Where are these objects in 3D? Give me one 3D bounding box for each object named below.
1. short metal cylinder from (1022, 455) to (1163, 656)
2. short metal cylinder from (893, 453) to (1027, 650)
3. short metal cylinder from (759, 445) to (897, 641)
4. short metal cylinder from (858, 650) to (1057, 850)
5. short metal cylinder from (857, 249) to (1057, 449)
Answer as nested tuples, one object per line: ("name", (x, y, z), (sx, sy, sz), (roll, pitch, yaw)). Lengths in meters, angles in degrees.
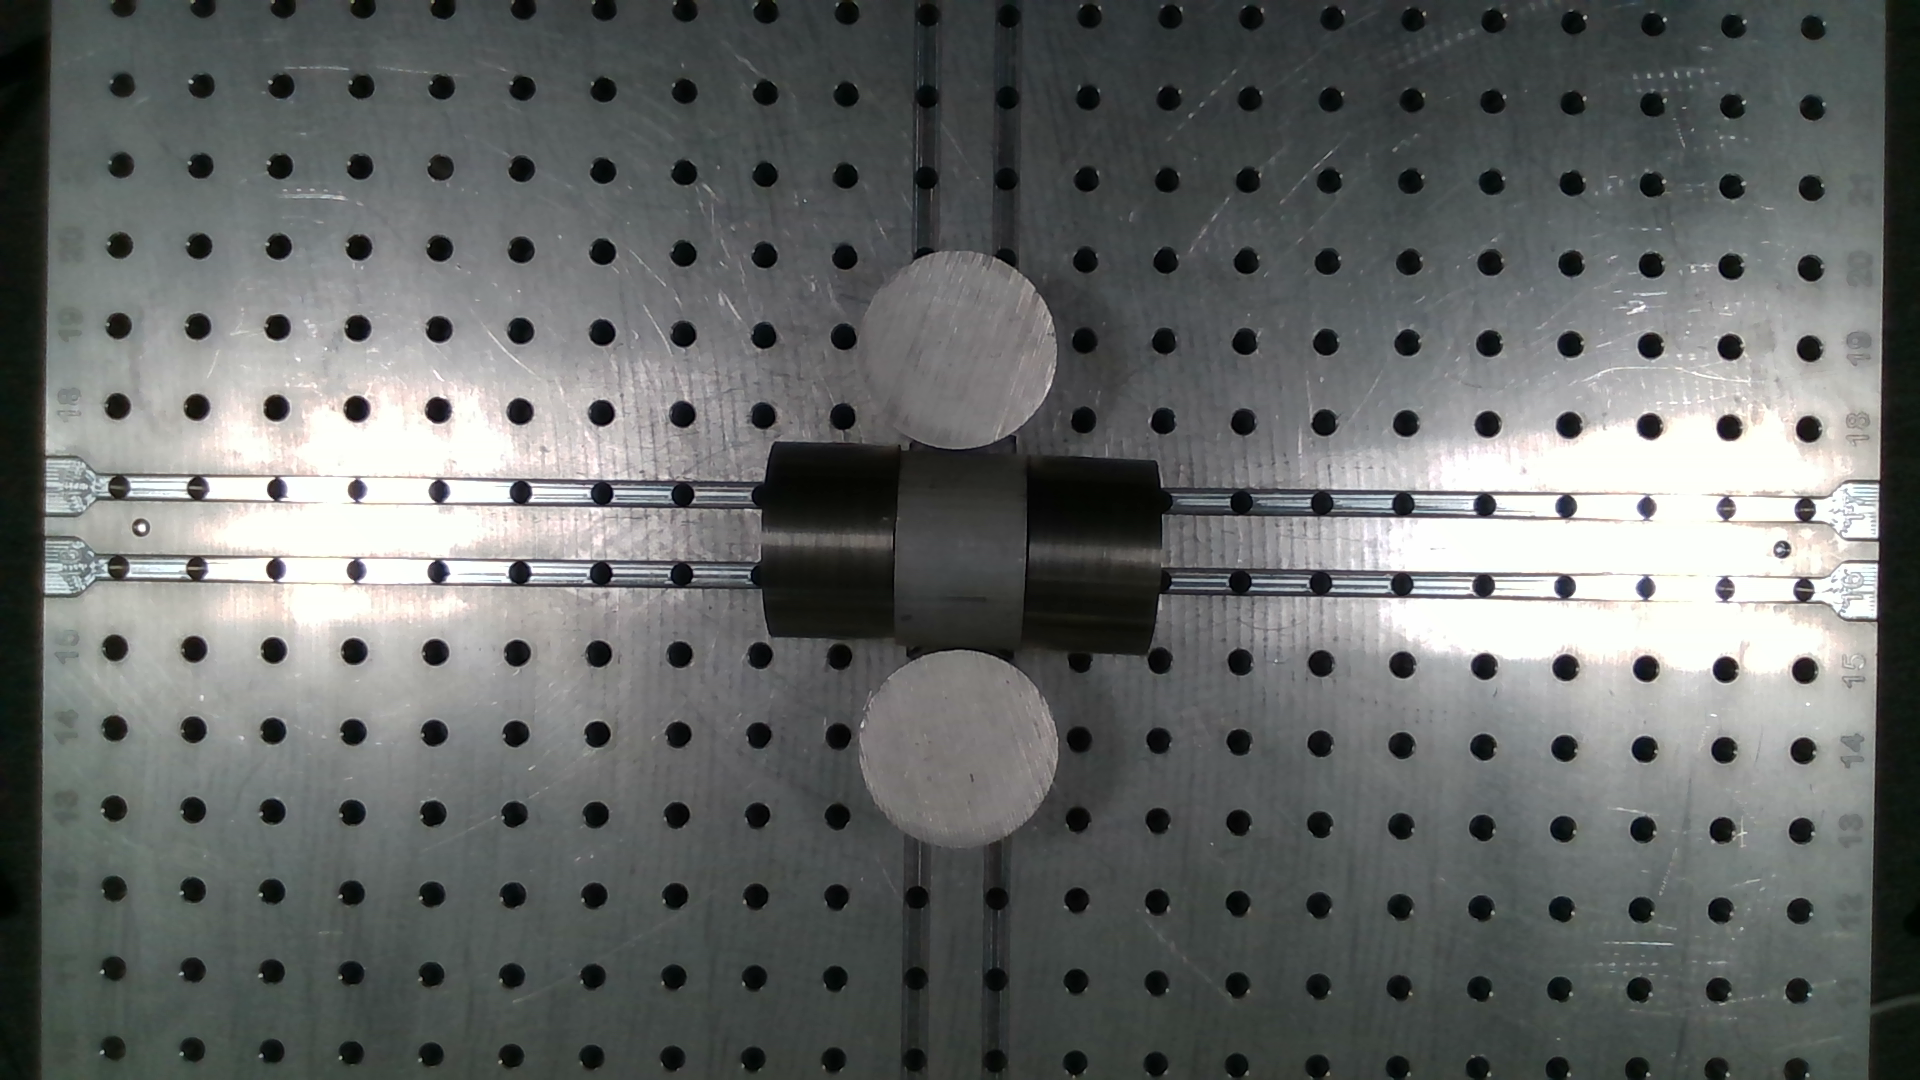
("short metal cylinder", (0.052, 0.006, 0.561), (0.050, 0.080, 0.080), (2, 90, 0))
("short metal cylinder", (0.000, 0.004, 0.561), (0.050, 0.080, 0.080), (2, 90, 0))
("short metal cylinder", (-0.051, 0.001, 0.561), (0.050, 0.080, 0.080), (1, 90, 0))
("short metal cylinder", (-0.001, 0.084, 0.577), (0.080, 0.050, 0.080), (0, 90, 0))
("short metal cylinder", (-0.001, -0.076, 0.575), (0.080, 0.050, 0.080), (0, 90, 0))
